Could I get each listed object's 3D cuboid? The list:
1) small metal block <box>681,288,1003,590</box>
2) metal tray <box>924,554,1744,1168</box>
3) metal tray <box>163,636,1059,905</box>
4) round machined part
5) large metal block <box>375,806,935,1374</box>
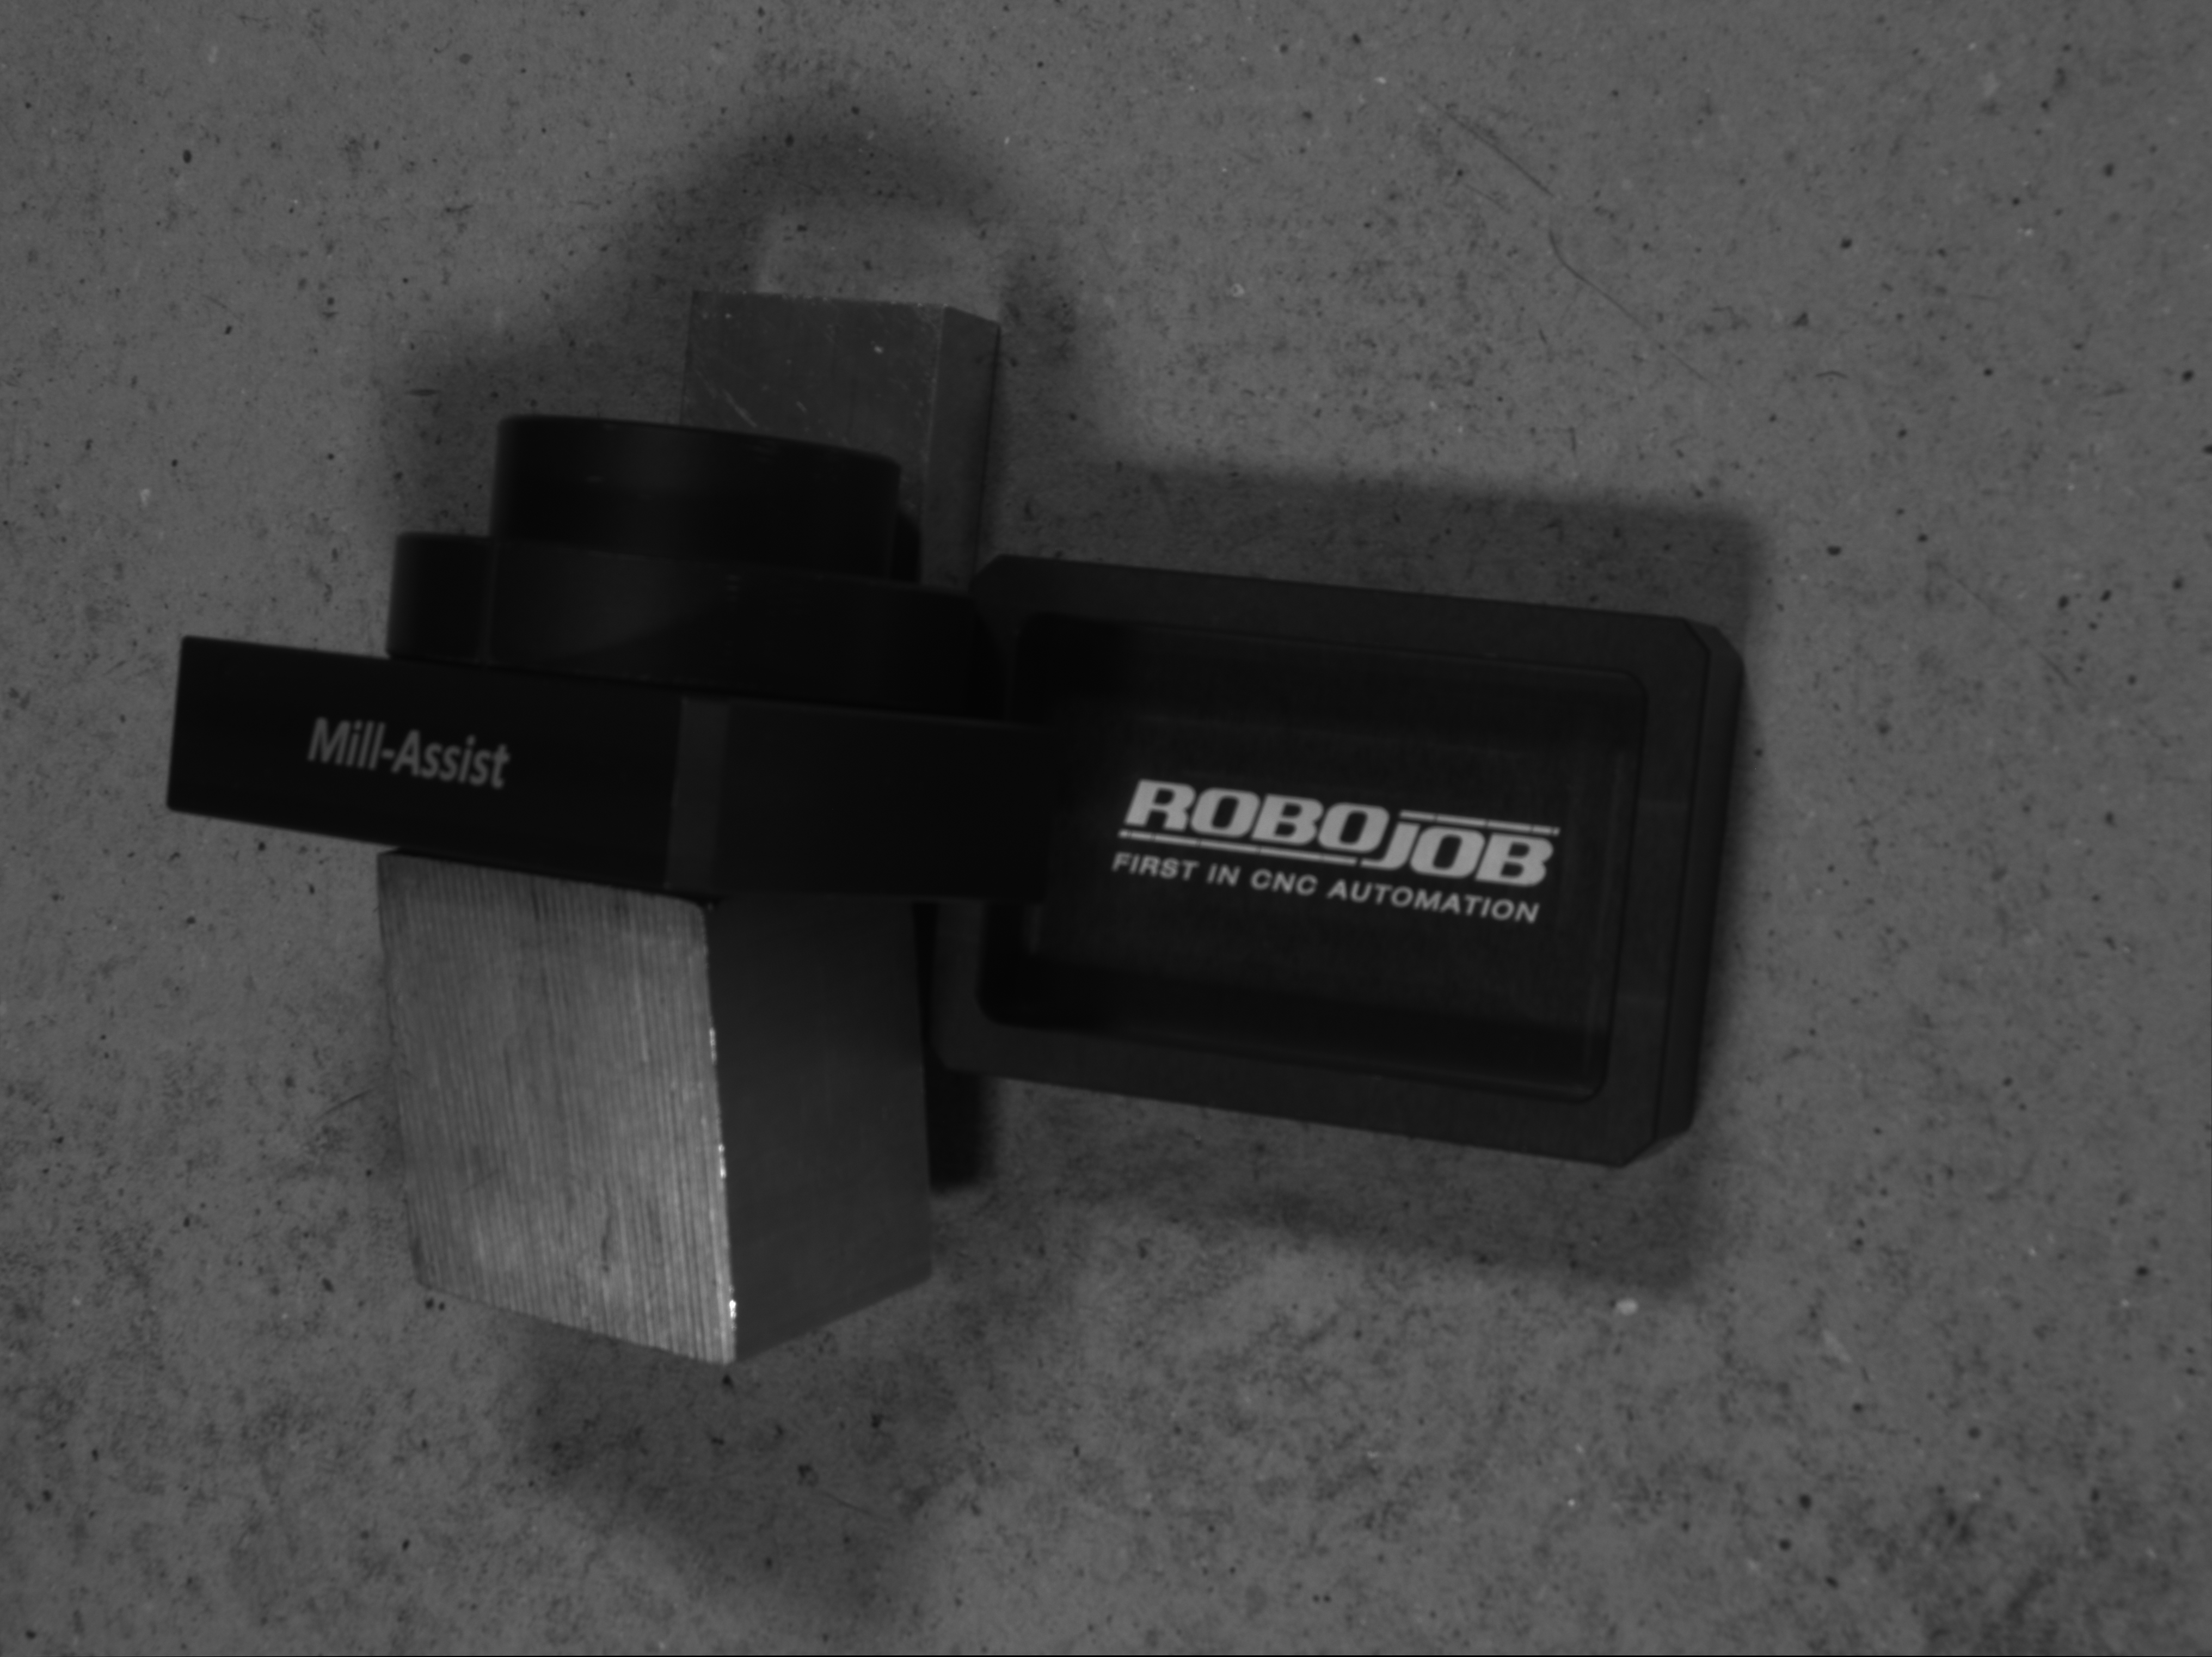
[{"bbox_3d":[-0.049,-0.069,0.663,0.050,0.025,0.050,7,92,20],"label":"small metal block"},{"bbox_3d":[0.038,0.004,0.628,0.130,0.030,0.090,7,92,19],"label":"metal tray"},{"bbox_3d":[-0.085,-0.010,0.622,0.130,0.090,0.030,8,93,38],"label":"metal tray"},{"bbox_3d":[-0.071,-0.045,0.619,0.098,0.098,0.042,6,92,20],"label":"round machined part"},{"bbox_3d":[-0.079,0.042,0.639,0.080,0.050,0.080,7,106,37],"label":"large metal block"}]
